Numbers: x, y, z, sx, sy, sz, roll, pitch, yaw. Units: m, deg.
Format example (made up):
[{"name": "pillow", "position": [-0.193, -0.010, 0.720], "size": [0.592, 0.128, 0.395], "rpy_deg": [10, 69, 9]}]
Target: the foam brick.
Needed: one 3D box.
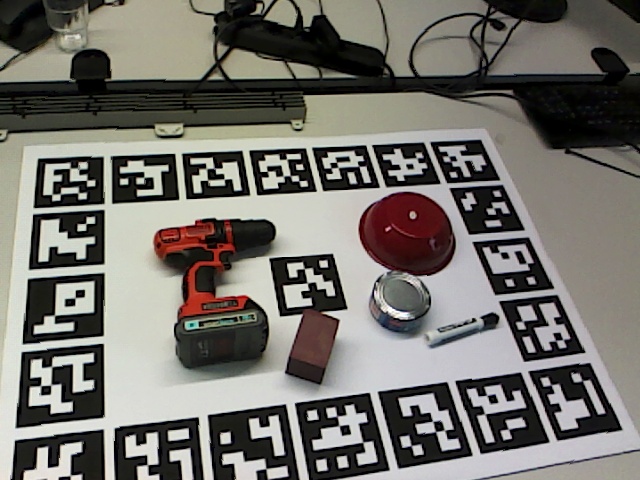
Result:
[{"name": "foam brick", "position": [-0.004, 0.147, 0.846], "size": [0.051, 0.053, 0.078], "rpy_deg": [16, 54, 0]}]

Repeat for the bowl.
[{"name": "bowl", "position": [0.147, -0.020, 1.000], "size": [0.161, 0.055, 0.162], "rpy_deg": [2, 47, -3]}]

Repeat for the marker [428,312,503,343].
[{"name": "marker", "position": [0.216, 0.127, 0.909], "size": [0.120, 0.019, 0.020], "rpy_deg": [-13, 58, -19]}]

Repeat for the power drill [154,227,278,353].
[{"name": "power drill", "position": [-0.137, 0.062, 0.882], "size": [0.184, 0.057, 0.188], "rpy_deg": [-3, 51, -17]}]

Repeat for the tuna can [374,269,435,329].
[{"name": "tuna can", "position": [0.124, 0.088, 0.915], "size": [0.085, 0.034, 0.086], "rpy_deg": [6, 52, -8]}]
